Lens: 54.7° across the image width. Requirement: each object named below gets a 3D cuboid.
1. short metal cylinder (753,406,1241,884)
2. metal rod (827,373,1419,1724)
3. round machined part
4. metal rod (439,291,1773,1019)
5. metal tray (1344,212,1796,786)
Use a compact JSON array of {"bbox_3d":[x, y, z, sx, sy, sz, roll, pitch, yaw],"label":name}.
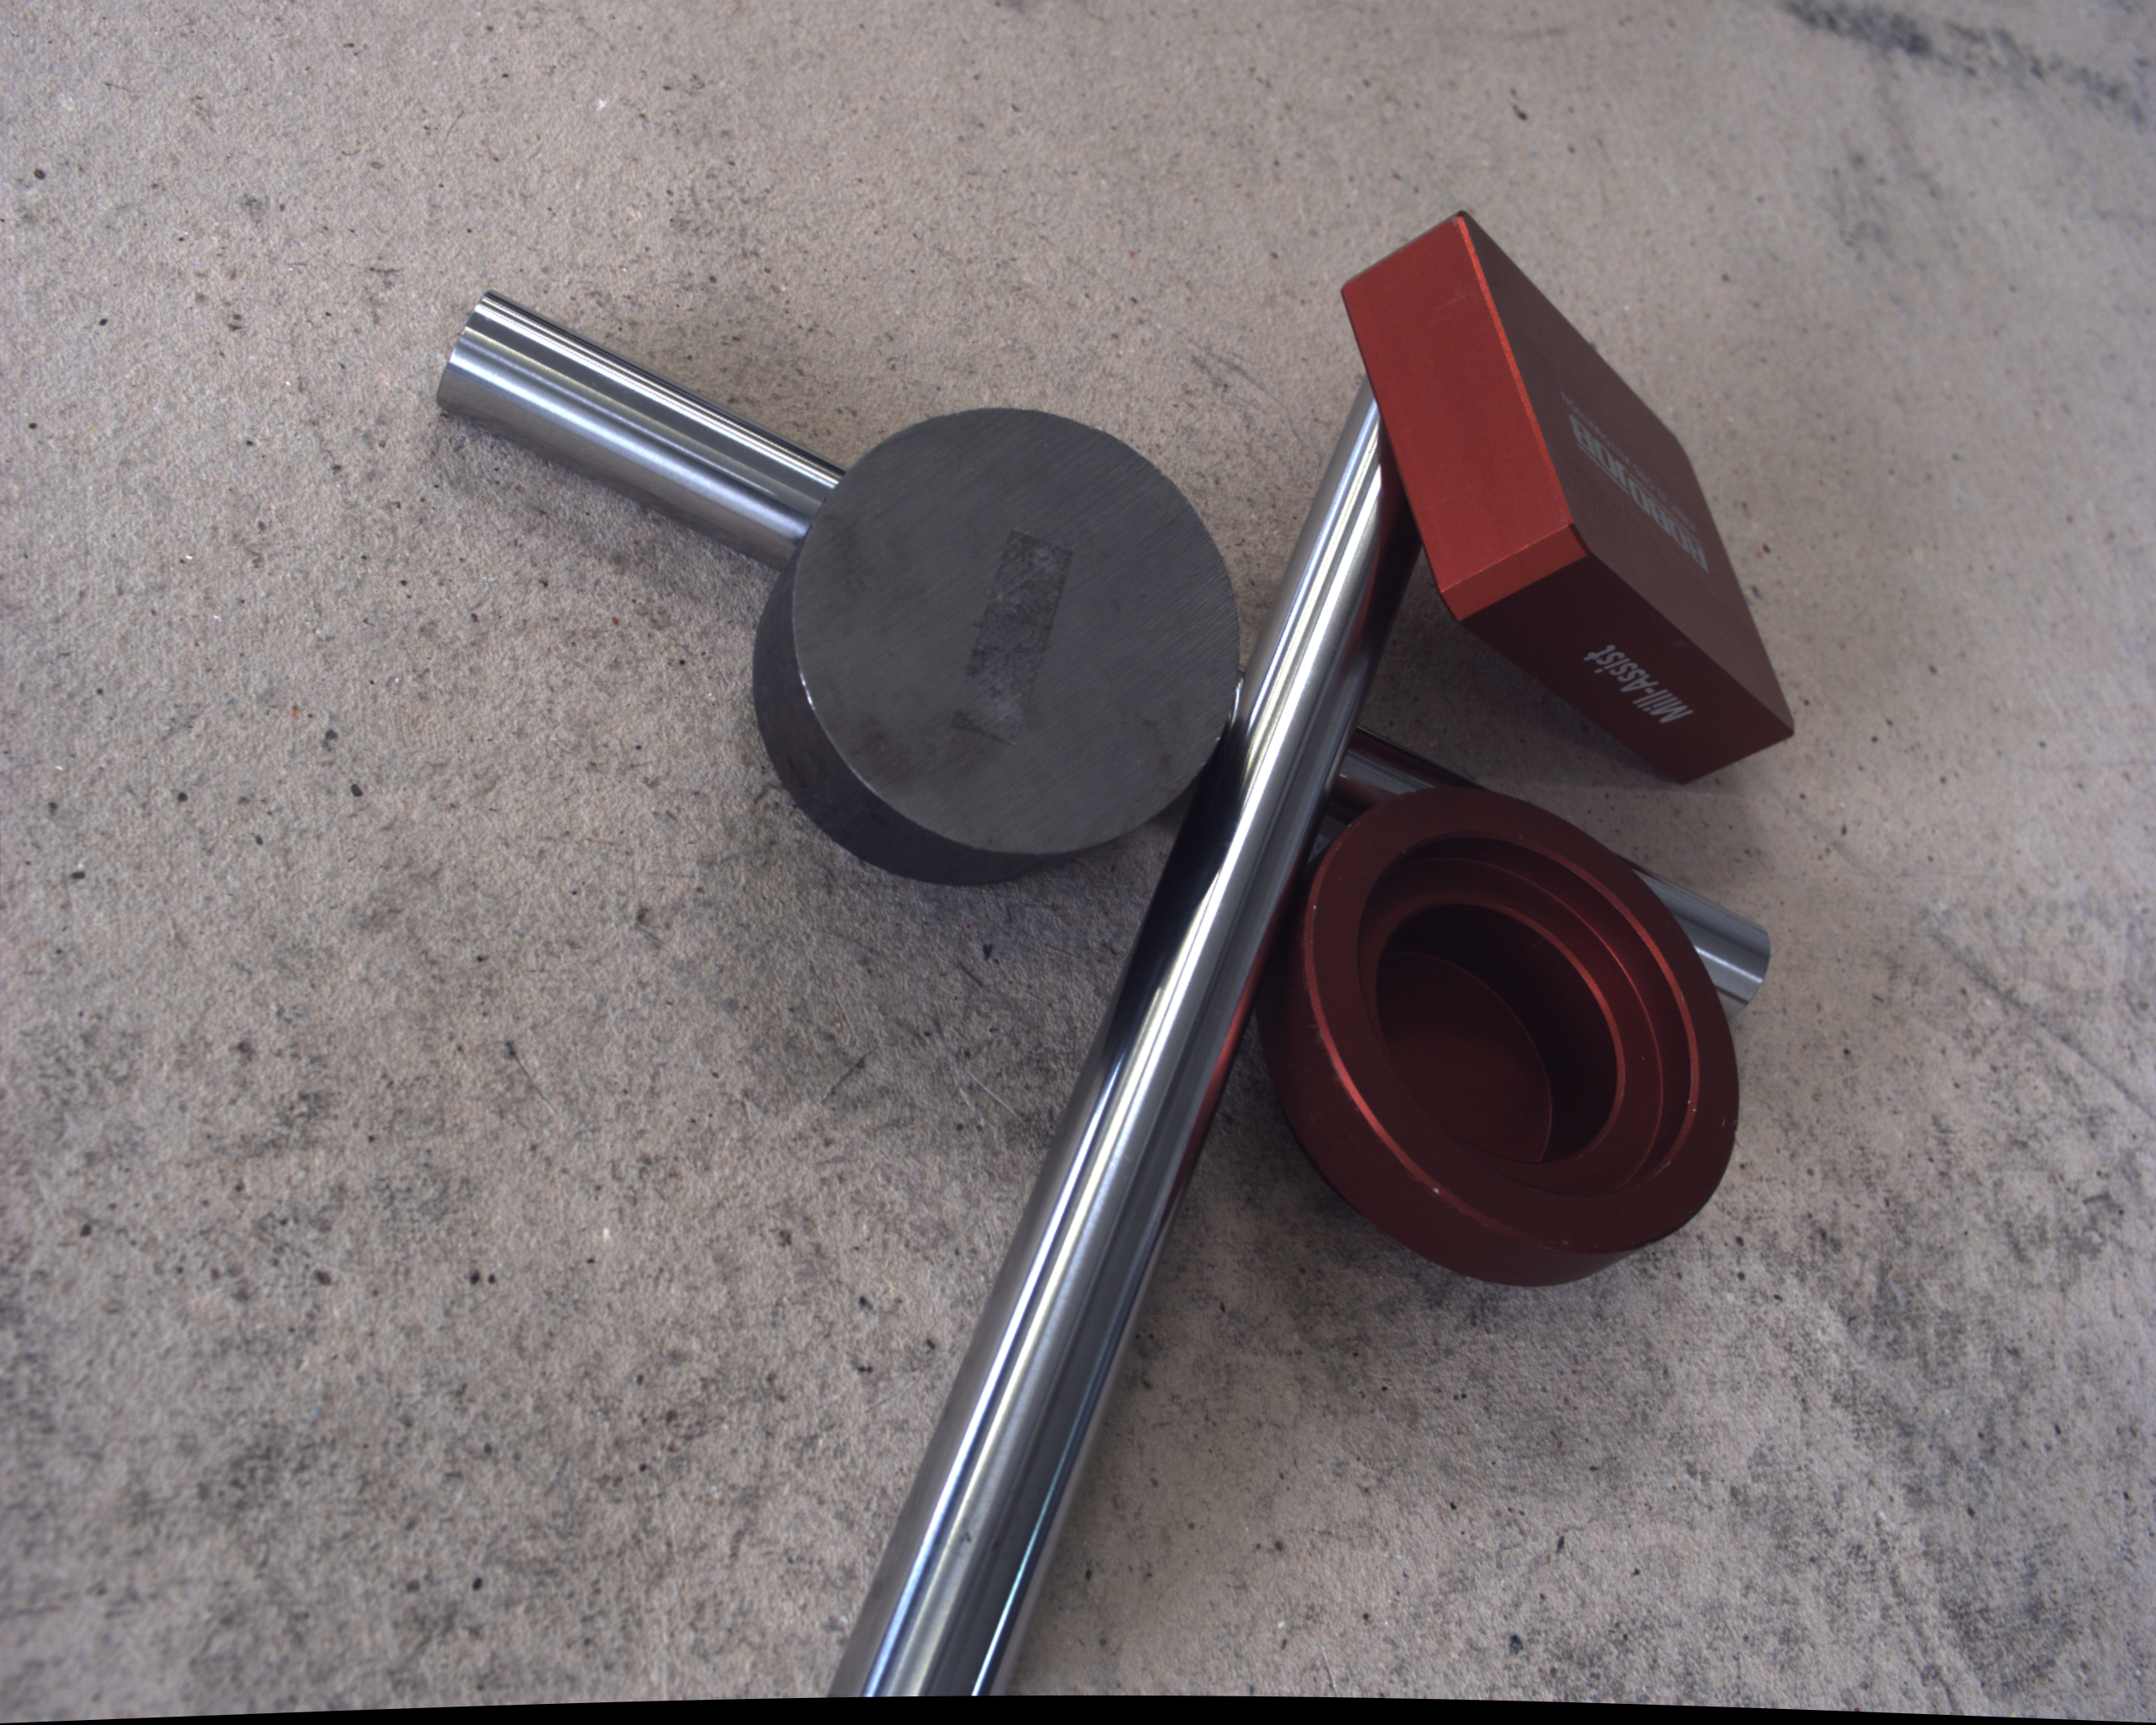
[{"bbox_3d":[-0.016,-0.038,0.386,0.081,0.050,0.080,2,82,-16],"label":"short metal cylinder"},{"bbox_3d":[0.025,0.012,0.389,0.025,0.025,0.300,29,58,-10],"label":"metal rod"},{"bbox_3d":[0.078,0.037,0.413,0.099,0.042,0.098,14,56,-21],"label":"round machined part"},{"bbox_3d":[0.015,-0.037,0.437,0.301,0.025,0.025,25,53,-13],"label":"metal rod"},{"bbox_3d":[0.115,-0.078,0.475,0.131,0.030,0.090,22,48,-50],"label":"metal tray"}]
